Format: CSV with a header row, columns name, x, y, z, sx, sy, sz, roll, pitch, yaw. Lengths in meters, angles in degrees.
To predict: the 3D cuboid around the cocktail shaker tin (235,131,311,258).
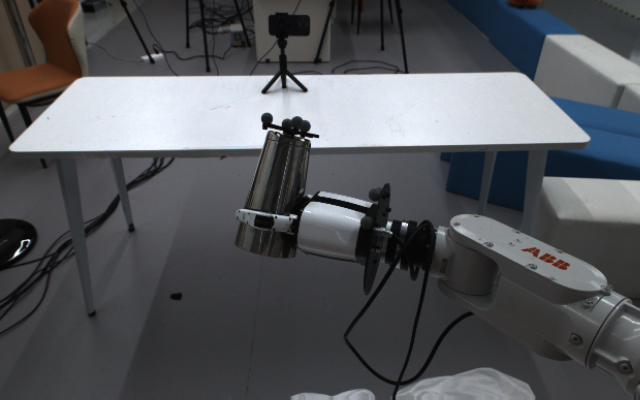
name,x,y,z,sx,sy,sz,roll,pitch,yaw
cocktail shaker tin,-0.063,-0.011,0.708,0.093,0.170,0.093,12,5,-1
